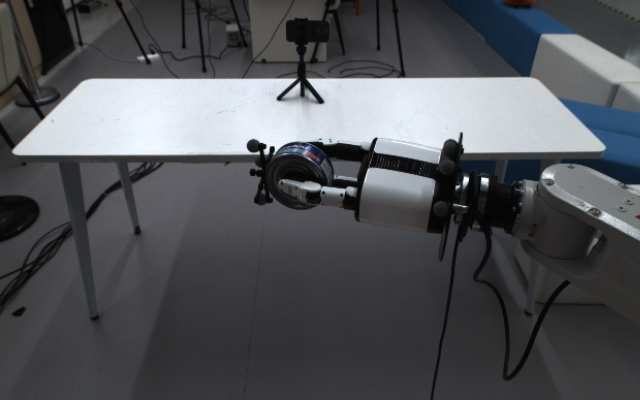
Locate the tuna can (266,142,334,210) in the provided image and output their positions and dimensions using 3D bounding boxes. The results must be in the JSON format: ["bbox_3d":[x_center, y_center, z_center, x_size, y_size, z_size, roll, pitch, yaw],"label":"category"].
[{"bbox_3d":[-0.025,-0.033,0.629,0.085,0.085,0.034,9,33,10],"label":"tuna can"}]
